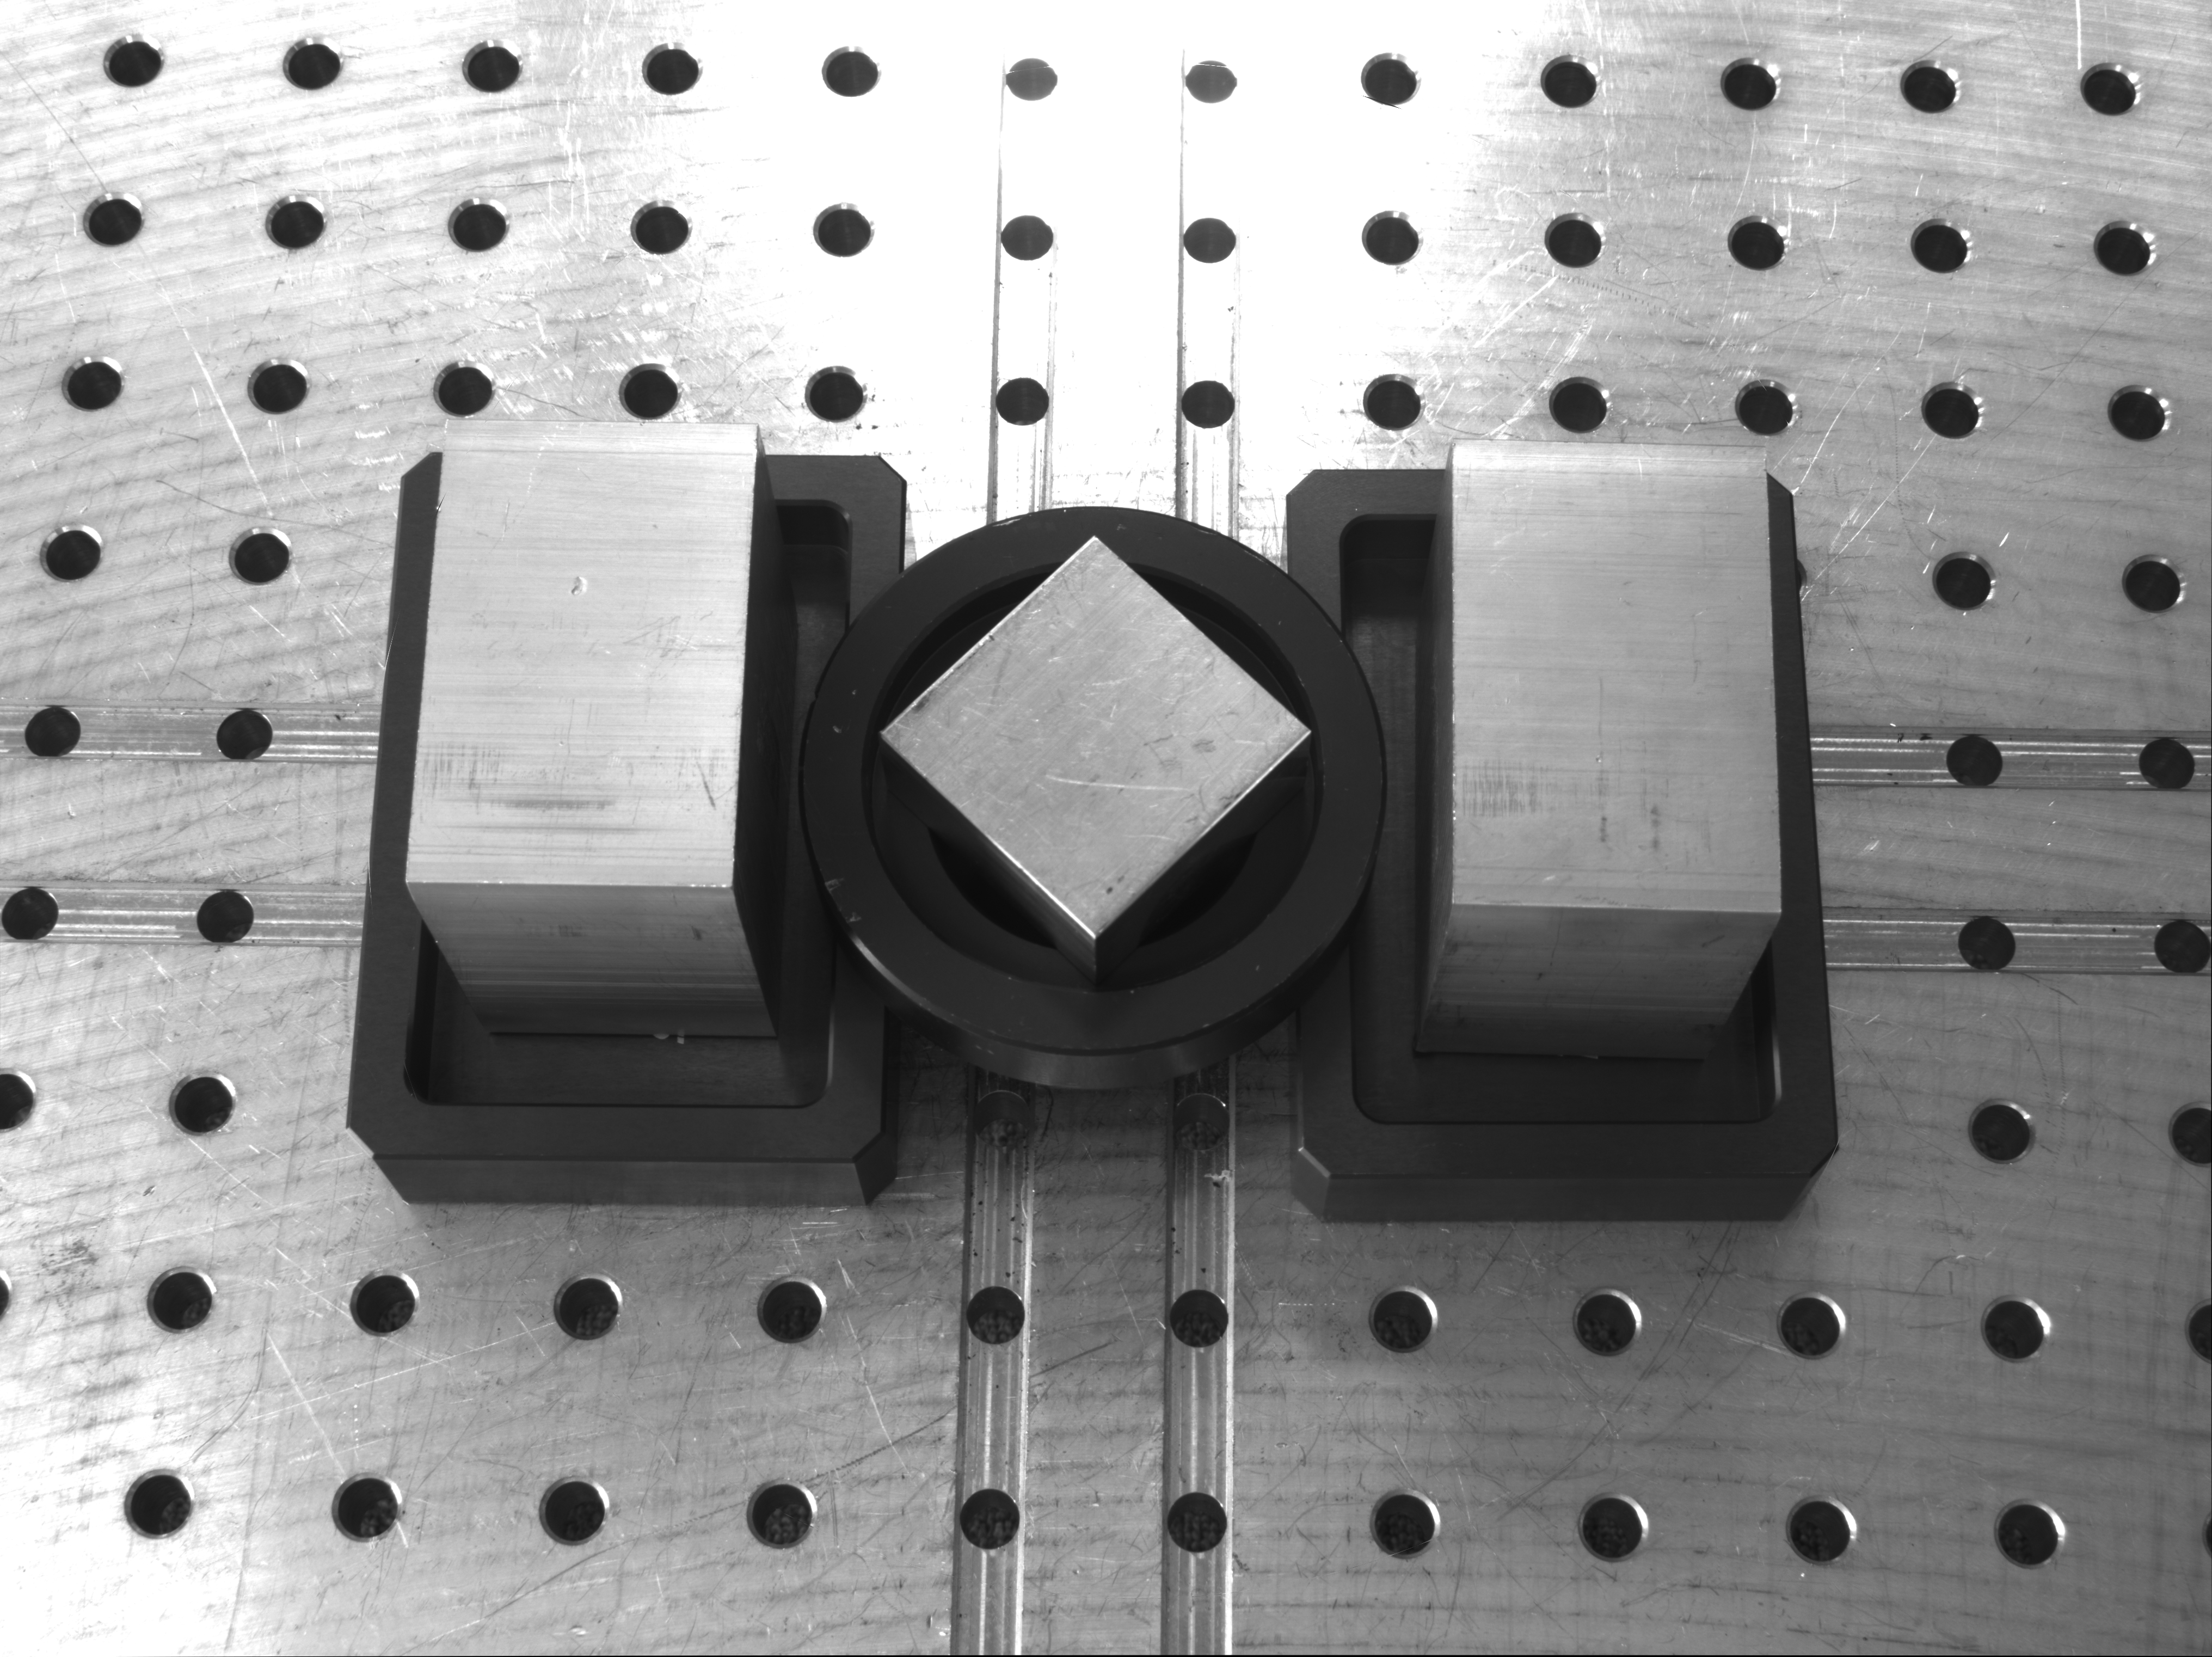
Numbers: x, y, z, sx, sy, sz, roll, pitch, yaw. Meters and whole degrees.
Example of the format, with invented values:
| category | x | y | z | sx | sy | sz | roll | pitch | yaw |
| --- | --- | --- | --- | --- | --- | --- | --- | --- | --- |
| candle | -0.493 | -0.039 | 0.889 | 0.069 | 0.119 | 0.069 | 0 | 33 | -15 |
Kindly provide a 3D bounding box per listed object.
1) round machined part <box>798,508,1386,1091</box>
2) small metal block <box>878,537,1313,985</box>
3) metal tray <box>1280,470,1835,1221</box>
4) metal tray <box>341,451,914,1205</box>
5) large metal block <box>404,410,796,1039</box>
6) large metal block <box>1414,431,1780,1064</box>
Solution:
| category | x | y | z | sx | sy | sz | roll | pitch | yaw |
| --- | --- | --- | --- | --- | --- | --- | --- | --- | --- |
| round machined part | -0.002 | -0.002 | 0.629 | 0.098 | 0.042 | 0.098 | 0 | 70 | 0 |
| small metal block | -0.002 | -0.011 | 0.608 | 0.050 | 0.025 | 0.050 | 43 | 75 | 14 |
| metal tray | 0.076 | 0.002 | 0.643 | 0.090 | 0.030 | 0.130 | 0 | 69 | 0 |
| metal tray | -0.081 | -0.001 | 0.644 | 0.090 | 0.030 | 0.130 | 1 | 69 | 0 |
| large metal block | -0.081 | -0.015 | 0.609 | 0.050 | 0.080 | 0.080 | 1 | 70 | 1 |
| large metal block | 0.079 | -0.011 | 0.608 | 0.050 | 0.080 | 0.080 | 1 | 70 | 1 |
